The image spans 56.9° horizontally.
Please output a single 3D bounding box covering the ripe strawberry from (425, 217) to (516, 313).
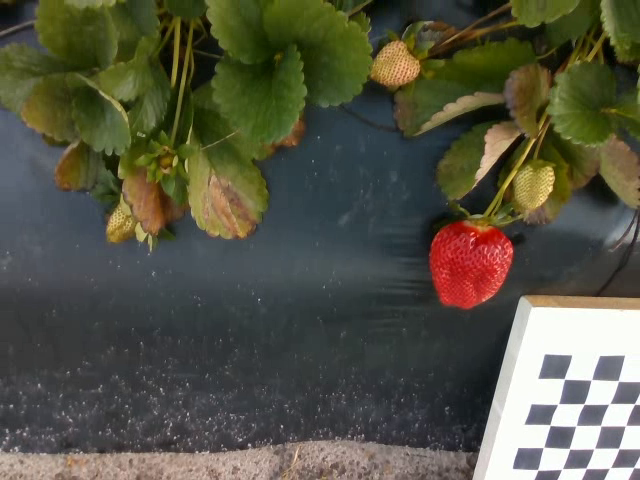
[{"bbox_3d":[0.114,0.020,0.447,0.067,0.074,0.039,8,19,-6],"label":"ripe strawberry"}]
